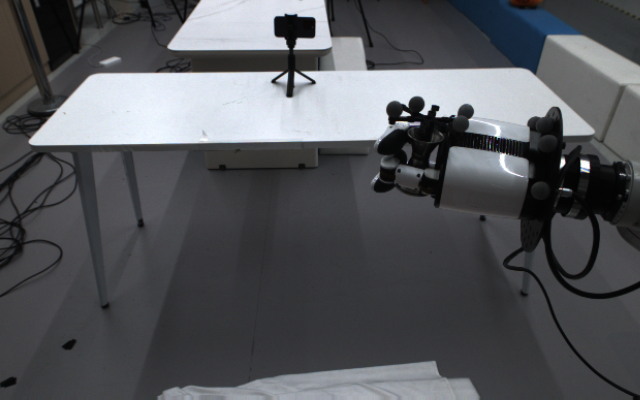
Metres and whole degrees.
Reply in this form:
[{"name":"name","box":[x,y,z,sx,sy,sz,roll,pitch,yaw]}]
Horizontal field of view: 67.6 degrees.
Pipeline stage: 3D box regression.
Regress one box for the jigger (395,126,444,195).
[{"name":"jigger","box":[0.117,-0.045,0.557,0.043,0.071,0.043,4,31,-2]}]
